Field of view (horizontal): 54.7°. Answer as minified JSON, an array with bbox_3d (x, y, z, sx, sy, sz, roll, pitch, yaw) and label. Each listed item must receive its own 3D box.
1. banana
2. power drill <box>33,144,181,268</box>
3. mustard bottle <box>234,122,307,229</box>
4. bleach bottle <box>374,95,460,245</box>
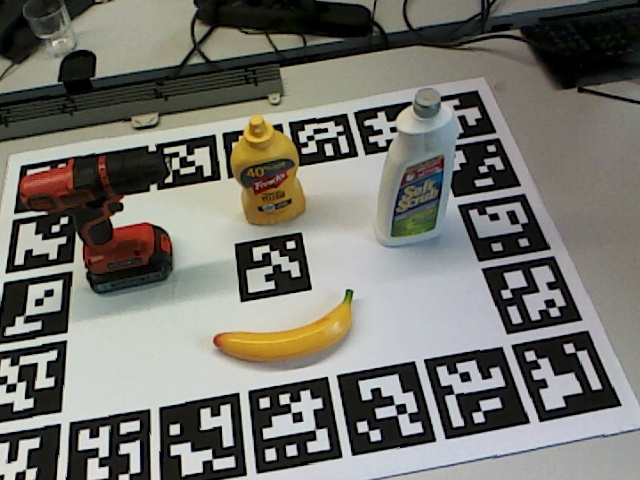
[{"bbox_3d":[-0.040,0.118,0.810,0.197,0.038,0.074,-15,58,-2],"label":"banana"},{"bbox_3d":[-0.253,-0.043,0.821,0.184,0.186,0.057,-16,57,-1],"label":"power drill"},{"bbox_3d":[-0.071,-0.094,0.876,0.096,0.191,0.059,-15,56,-7],"label":"mustard bottle"},{"bbox_3d":[0.125,-0.089,0.817,0.103,0.250,0.068,-2,56,3],"label":"bleach bottle"}]
